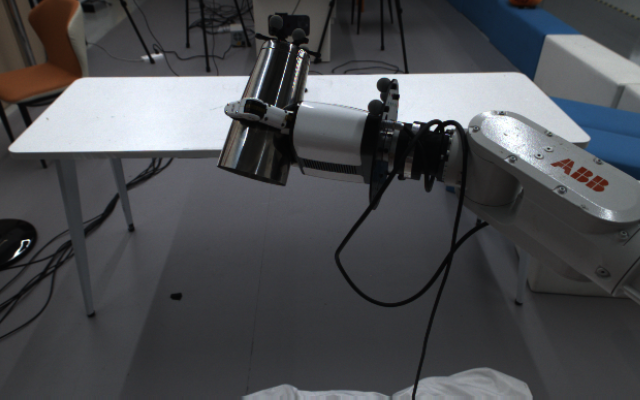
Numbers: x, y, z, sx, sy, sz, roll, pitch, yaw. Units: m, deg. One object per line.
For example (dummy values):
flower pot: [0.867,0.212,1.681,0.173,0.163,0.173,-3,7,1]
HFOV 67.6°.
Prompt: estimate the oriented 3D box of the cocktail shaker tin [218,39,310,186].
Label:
cocktail shaker tin: [-0.065,-0.111,0.625,0.093,0.170,0.093,15,-4,1]
